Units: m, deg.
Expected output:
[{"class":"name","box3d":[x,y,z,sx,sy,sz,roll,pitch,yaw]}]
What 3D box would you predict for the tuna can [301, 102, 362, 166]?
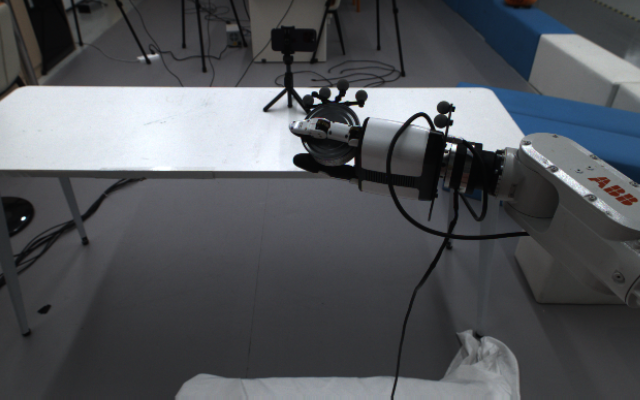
[{"class":"tuna can","box3d":[0.017,-0.093,0.687,0.085,0.034,0.085,-5,70,14]}]
